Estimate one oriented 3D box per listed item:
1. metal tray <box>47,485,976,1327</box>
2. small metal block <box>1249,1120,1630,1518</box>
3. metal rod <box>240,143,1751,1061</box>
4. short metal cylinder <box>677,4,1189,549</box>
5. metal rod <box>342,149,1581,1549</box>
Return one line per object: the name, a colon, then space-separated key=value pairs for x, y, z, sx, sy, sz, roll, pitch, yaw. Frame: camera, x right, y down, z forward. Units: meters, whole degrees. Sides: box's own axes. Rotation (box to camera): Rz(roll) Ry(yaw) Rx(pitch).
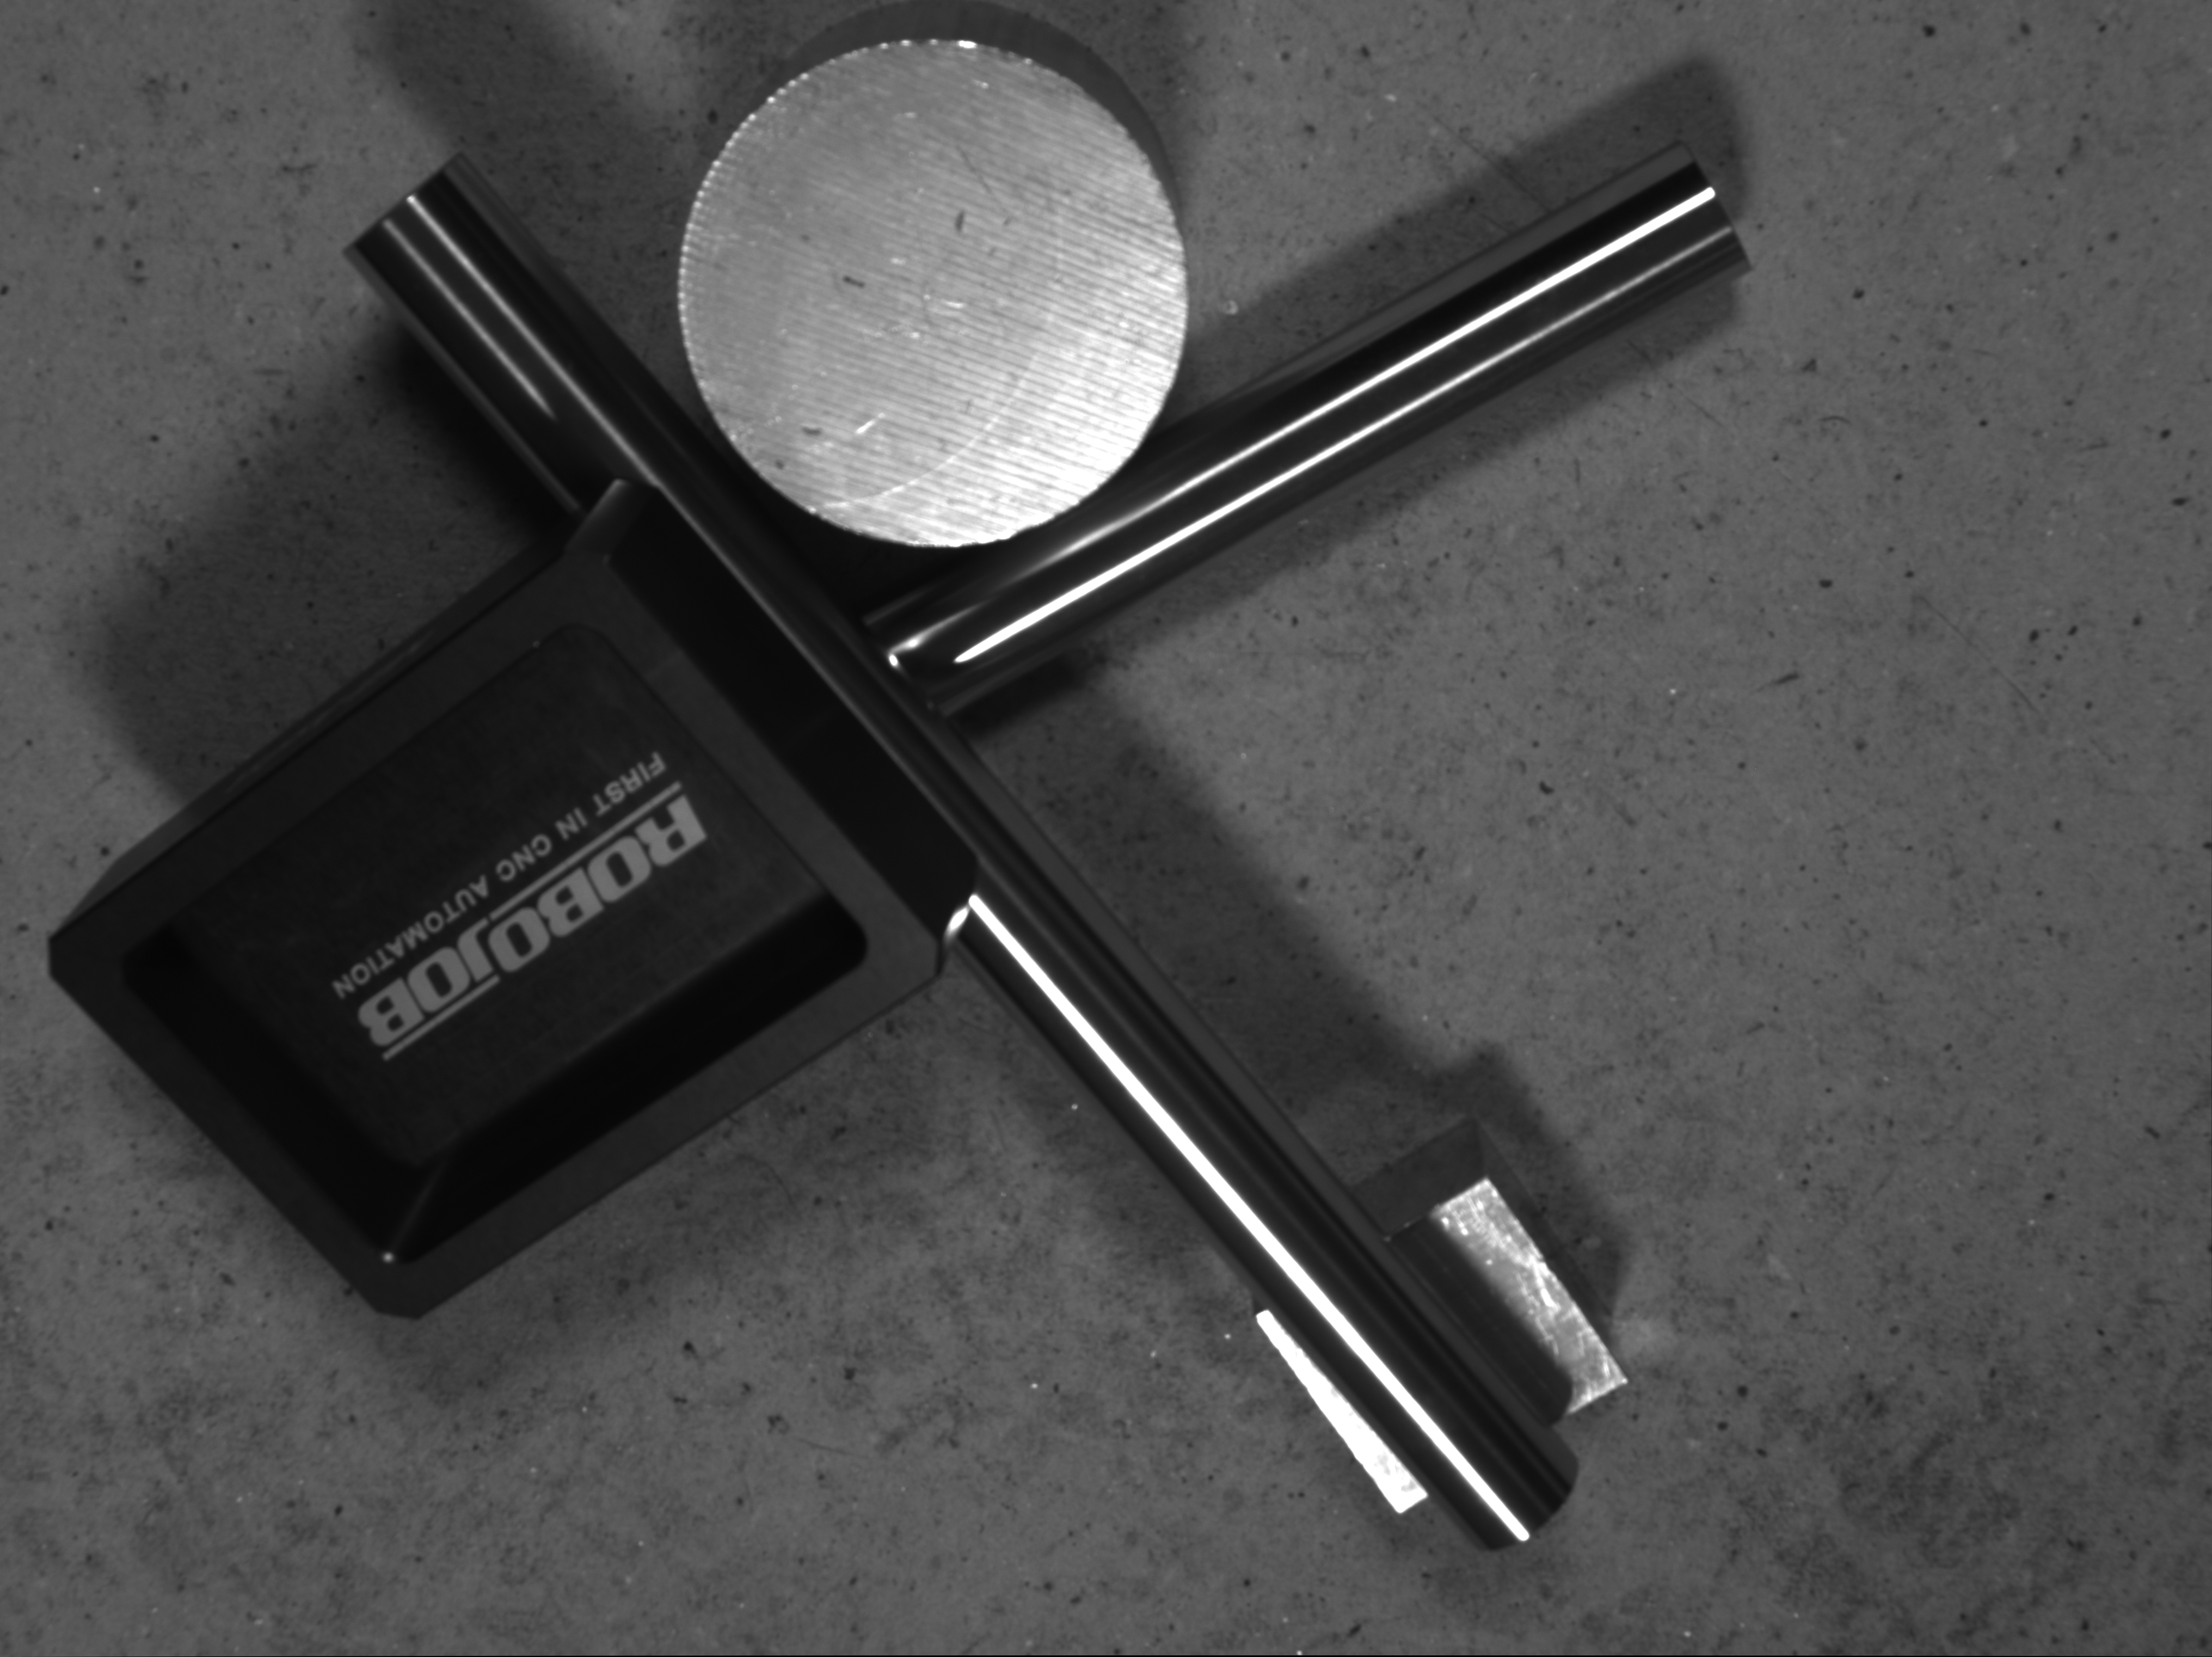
metal tray: x=-0.098 y=0.015 z=0.604 sx=0.130 sy=0.030 sz=0.090 roll=-34 pitch=107 yaw=23
small metal block: x=0.061 y=0.091 z=0.677 sx=0.050 sy=0.025 sz=0.050 roll=-32 pitch=107 yaw=10
metal rod: x=-0.029 y=-0.032 z=0.631 sx=0.300 sy=0.025 sz=0.025 roll=-28 pitch=108 yaw=9
short metal cylinder: x=-0.027 y=-0.091 z=0.596 sx=0.080 sy=0.050 sz=0.080 roll=0 pitch=110 yaw=-1
metal rod: x=-0.018 y=0.011 z=0.621 sx=0.025 sy=0.025 sz=0.300 roll=-37 pitch=106 yaw=12
